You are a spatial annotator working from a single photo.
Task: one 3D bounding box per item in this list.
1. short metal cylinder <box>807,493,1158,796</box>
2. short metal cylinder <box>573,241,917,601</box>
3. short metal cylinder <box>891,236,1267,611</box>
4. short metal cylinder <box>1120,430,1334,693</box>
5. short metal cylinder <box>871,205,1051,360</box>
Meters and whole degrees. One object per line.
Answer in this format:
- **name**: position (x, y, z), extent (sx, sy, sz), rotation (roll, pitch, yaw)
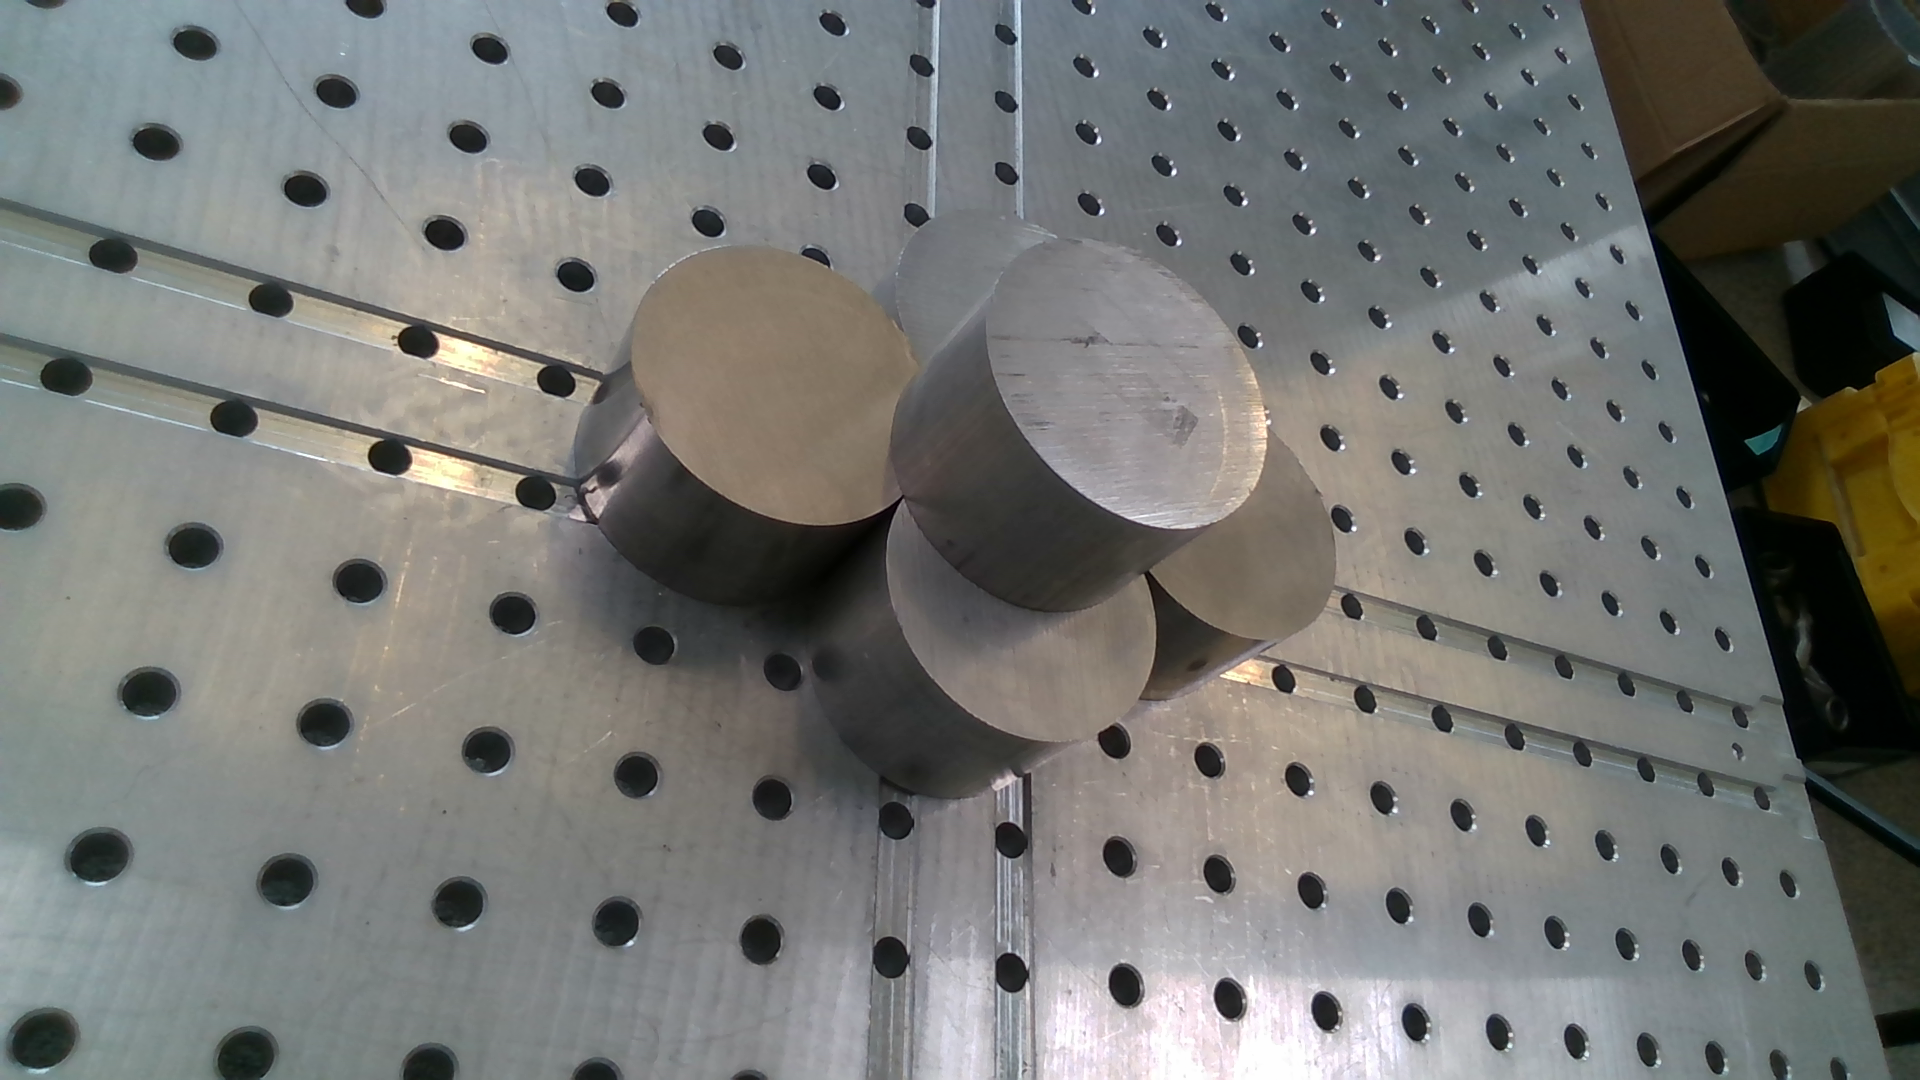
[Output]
- **short metal cylinder**: position (0.006, 0.023, 0.370), extent (0.080, 0.050, 0.080), rotation (14, 59, -25)
- **short metal cylinder**: position (-0.055, -0.030, 0.362), extent (0.080, 0.050, 0.080), rotation (16, 58, -27)
- **short metal cylinder**: position (0.030, -0.029, 0.348), extent (0.080, 0.050, 0.080), rotation (14, 59, -25)
- **short metal cylinder**: position (0.066, 0.001, 0.419), extent (0.080, 0.050, 0.080), rotation (14, 60, -25)
- **short metal cylinder**: position (0.006, -0.051, 0.411), extent (0.080, 0.050, 0.080), rotation (14, 59, -25)
